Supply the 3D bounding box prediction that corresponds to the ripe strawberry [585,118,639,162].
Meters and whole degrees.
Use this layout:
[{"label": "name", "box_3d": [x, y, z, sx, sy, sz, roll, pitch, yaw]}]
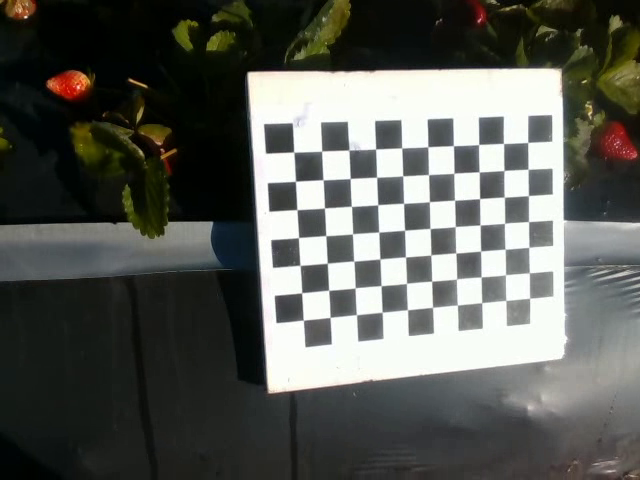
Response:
[{"label": "ripe strawberry", "box_3d": [0.312, -0.100, 0.636, 0.054, 0.048, 0.030, 41, -4, -11]}]
